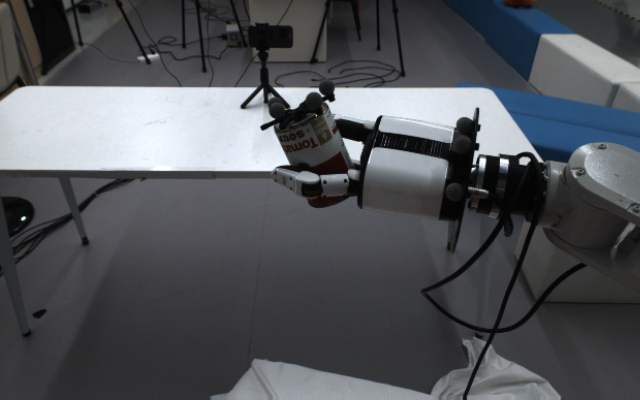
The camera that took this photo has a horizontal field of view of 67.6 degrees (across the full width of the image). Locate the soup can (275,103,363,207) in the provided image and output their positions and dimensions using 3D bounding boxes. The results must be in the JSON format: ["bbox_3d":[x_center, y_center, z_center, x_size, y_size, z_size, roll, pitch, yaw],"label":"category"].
[{"bbox_3d":[0.000,-0.052,0.555,0.067,0.101,0.067,-22,24,10],"label":"soup can"}]
